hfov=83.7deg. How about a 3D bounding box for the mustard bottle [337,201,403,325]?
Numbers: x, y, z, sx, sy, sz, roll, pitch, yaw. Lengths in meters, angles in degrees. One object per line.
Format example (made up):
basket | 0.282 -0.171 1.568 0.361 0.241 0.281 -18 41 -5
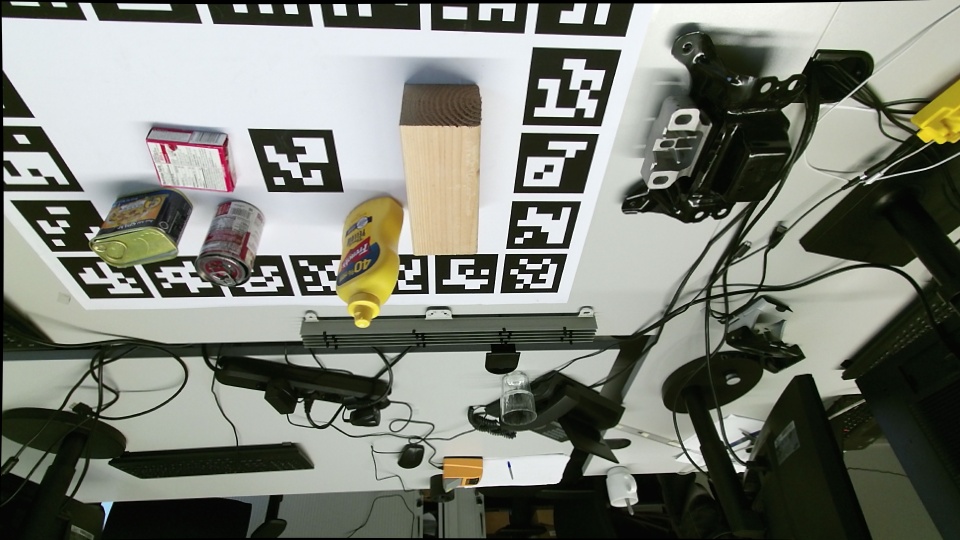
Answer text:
mustard bottle | -0.155 -0.007 0.722 0.096 0.190 0.058 -18 136 16

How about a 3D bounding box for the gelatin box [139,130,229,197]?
gelatin box | -0.369 -0.132 0.673 0.090 0.030 0.073 5 135 -14

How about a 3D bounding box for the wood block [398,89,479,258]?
wood block | -0.054 -0.113 0.683 0.091 0.089 0.206 1 141 -4

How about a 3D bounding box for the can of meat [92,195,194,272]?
can of meat | -0.449 -0.051 0.722 0.102 0.083 0.058 -9 136 8

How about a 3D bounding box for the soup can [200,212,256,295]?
soup can | -0.352 -0.023 0.733 0.068 0.101 0.068 -3 136 -3
